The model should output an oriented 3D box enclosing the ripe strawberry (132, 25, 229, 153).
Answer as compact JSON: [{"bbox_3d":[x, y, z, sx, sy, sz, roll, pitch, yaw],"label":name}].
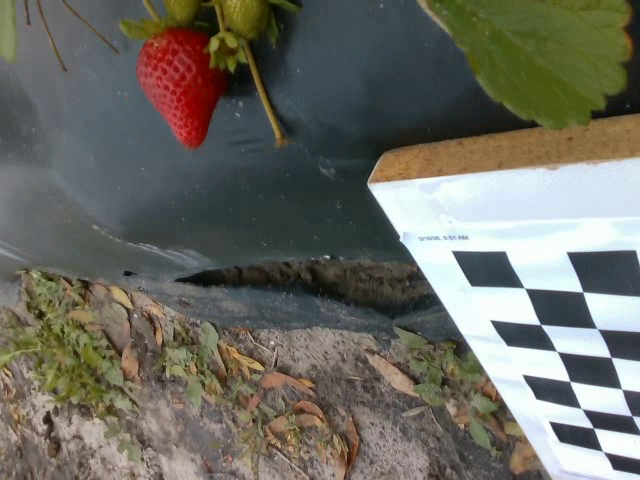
[{"bbox_3d":[-0.017,-0.018,0.075,0.018,0.017,0.014,-6,2,29],"label":"ripe strawberry"}]
